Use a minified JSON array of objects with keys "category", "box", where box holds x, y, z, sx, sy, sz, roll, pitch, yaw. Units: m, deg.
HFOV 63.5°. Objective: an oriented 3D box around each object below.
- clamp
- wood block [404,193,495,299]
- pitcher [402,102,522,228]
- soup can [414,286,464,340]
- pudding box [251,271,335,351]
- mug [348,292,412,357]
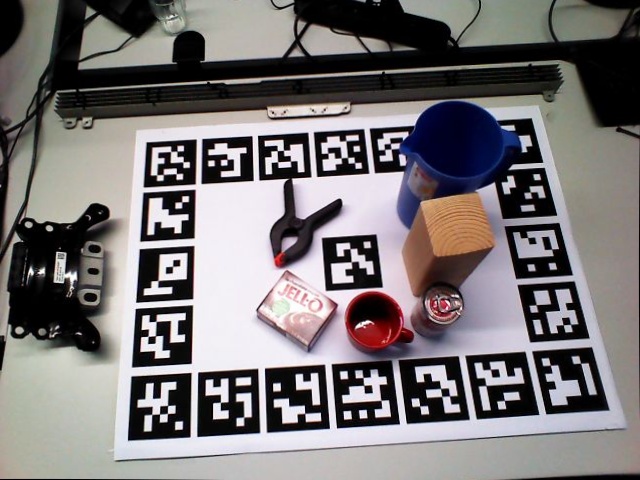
[{"category":"clamp","box":[-0.031,-0.027,0.936,0.122,0.037,0.164,26,71,4]},{"category":"wood block","box":[0.203,0.016,0.812,0.090,0.207,0.090,-5,67,-5]},{"category":"pitcher","box":[0.221,-0.103,0.844,0.189,0.243,0.132,-5,65,2]},{"category":"soup can","box":[0.191,0.120,0.827,0.068,0.102,0.067,0,70,1]},{"category":"pudding box","box":[-0.044,0.120,0.871,0.114,0.039,0.089,32,75,14]},{"category":"mug","box":[0.099,0.147,0.830,0.117,0.082,0.093,31,69,14]}]
